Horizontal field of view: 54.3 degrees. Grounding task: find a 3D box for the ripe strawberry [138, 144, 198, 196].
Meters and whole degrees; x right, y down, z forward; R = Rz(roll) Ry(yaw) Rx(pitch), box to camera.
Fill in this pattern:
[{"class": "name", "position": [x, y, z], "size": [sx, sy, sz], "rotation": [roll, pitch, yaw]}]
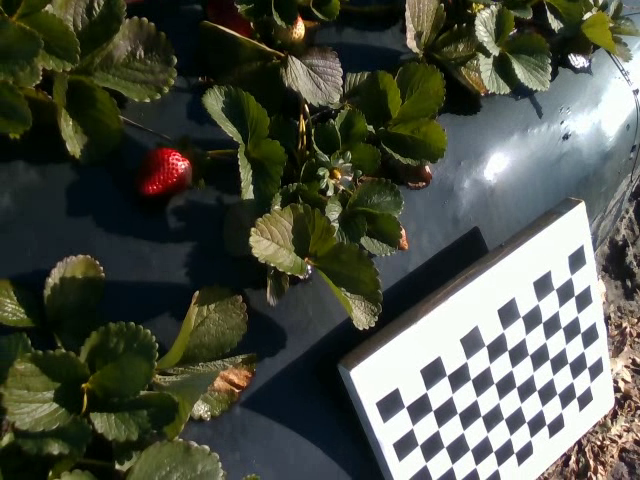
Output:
[{"class": "ripe strawberry", "position": [-0.117, -0.049, 0.461], "size": [0.044, 0.042, 0.056], "rotation": [5, 42, 39]}]
